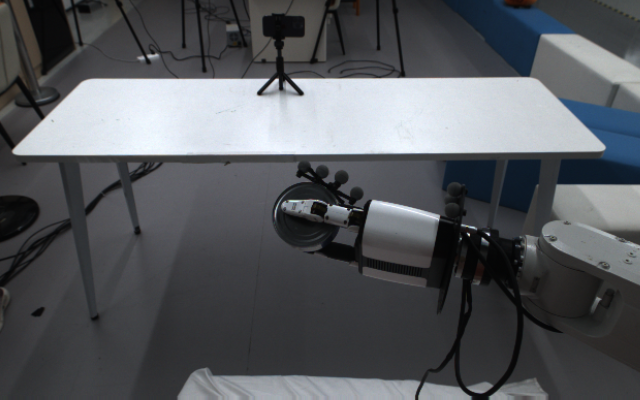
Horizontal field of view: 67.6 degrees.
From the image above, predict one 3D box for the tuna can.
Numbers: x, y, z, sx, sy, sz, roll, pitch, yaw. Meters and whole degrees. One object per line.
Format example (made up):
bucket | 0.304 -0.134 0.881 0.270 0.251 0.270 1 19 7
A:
tuna can | -0.015 0.022 0.621 0.085 0.034 0.085 -2 71 6
